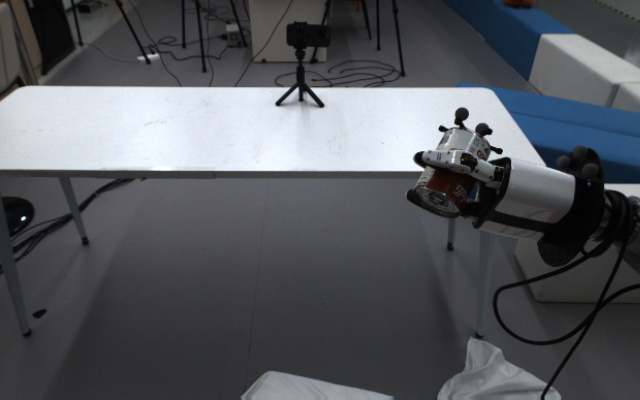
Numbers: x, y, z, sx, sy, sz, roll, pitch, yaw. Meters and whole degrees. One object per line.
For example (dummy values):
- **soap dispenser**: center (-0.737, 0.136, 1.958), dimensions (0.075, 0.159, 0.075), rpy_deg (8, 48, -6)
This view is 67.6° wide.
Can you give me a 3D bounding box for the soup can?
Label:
- **soup can**: center (0.175, -0.037, 0.634), dimensions (0.067, 0.067, 0.101), rpy_deg (22, 71, 26)
